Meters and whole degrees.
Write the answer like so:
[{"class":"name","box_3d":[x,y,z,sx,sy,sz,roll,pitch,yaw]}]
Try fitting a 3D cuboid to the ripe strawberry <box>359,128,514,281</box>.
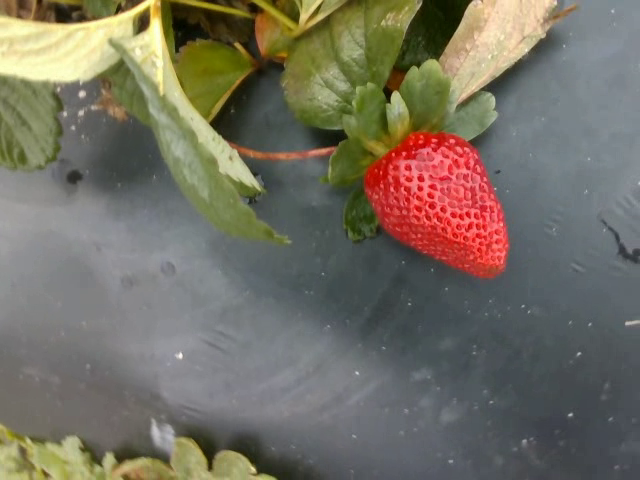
[{"class":"ripe strawberry","box_3d":[0.040,-0.009,0.201,0.049,0.064,0.046,-22,-28,-22]}]
